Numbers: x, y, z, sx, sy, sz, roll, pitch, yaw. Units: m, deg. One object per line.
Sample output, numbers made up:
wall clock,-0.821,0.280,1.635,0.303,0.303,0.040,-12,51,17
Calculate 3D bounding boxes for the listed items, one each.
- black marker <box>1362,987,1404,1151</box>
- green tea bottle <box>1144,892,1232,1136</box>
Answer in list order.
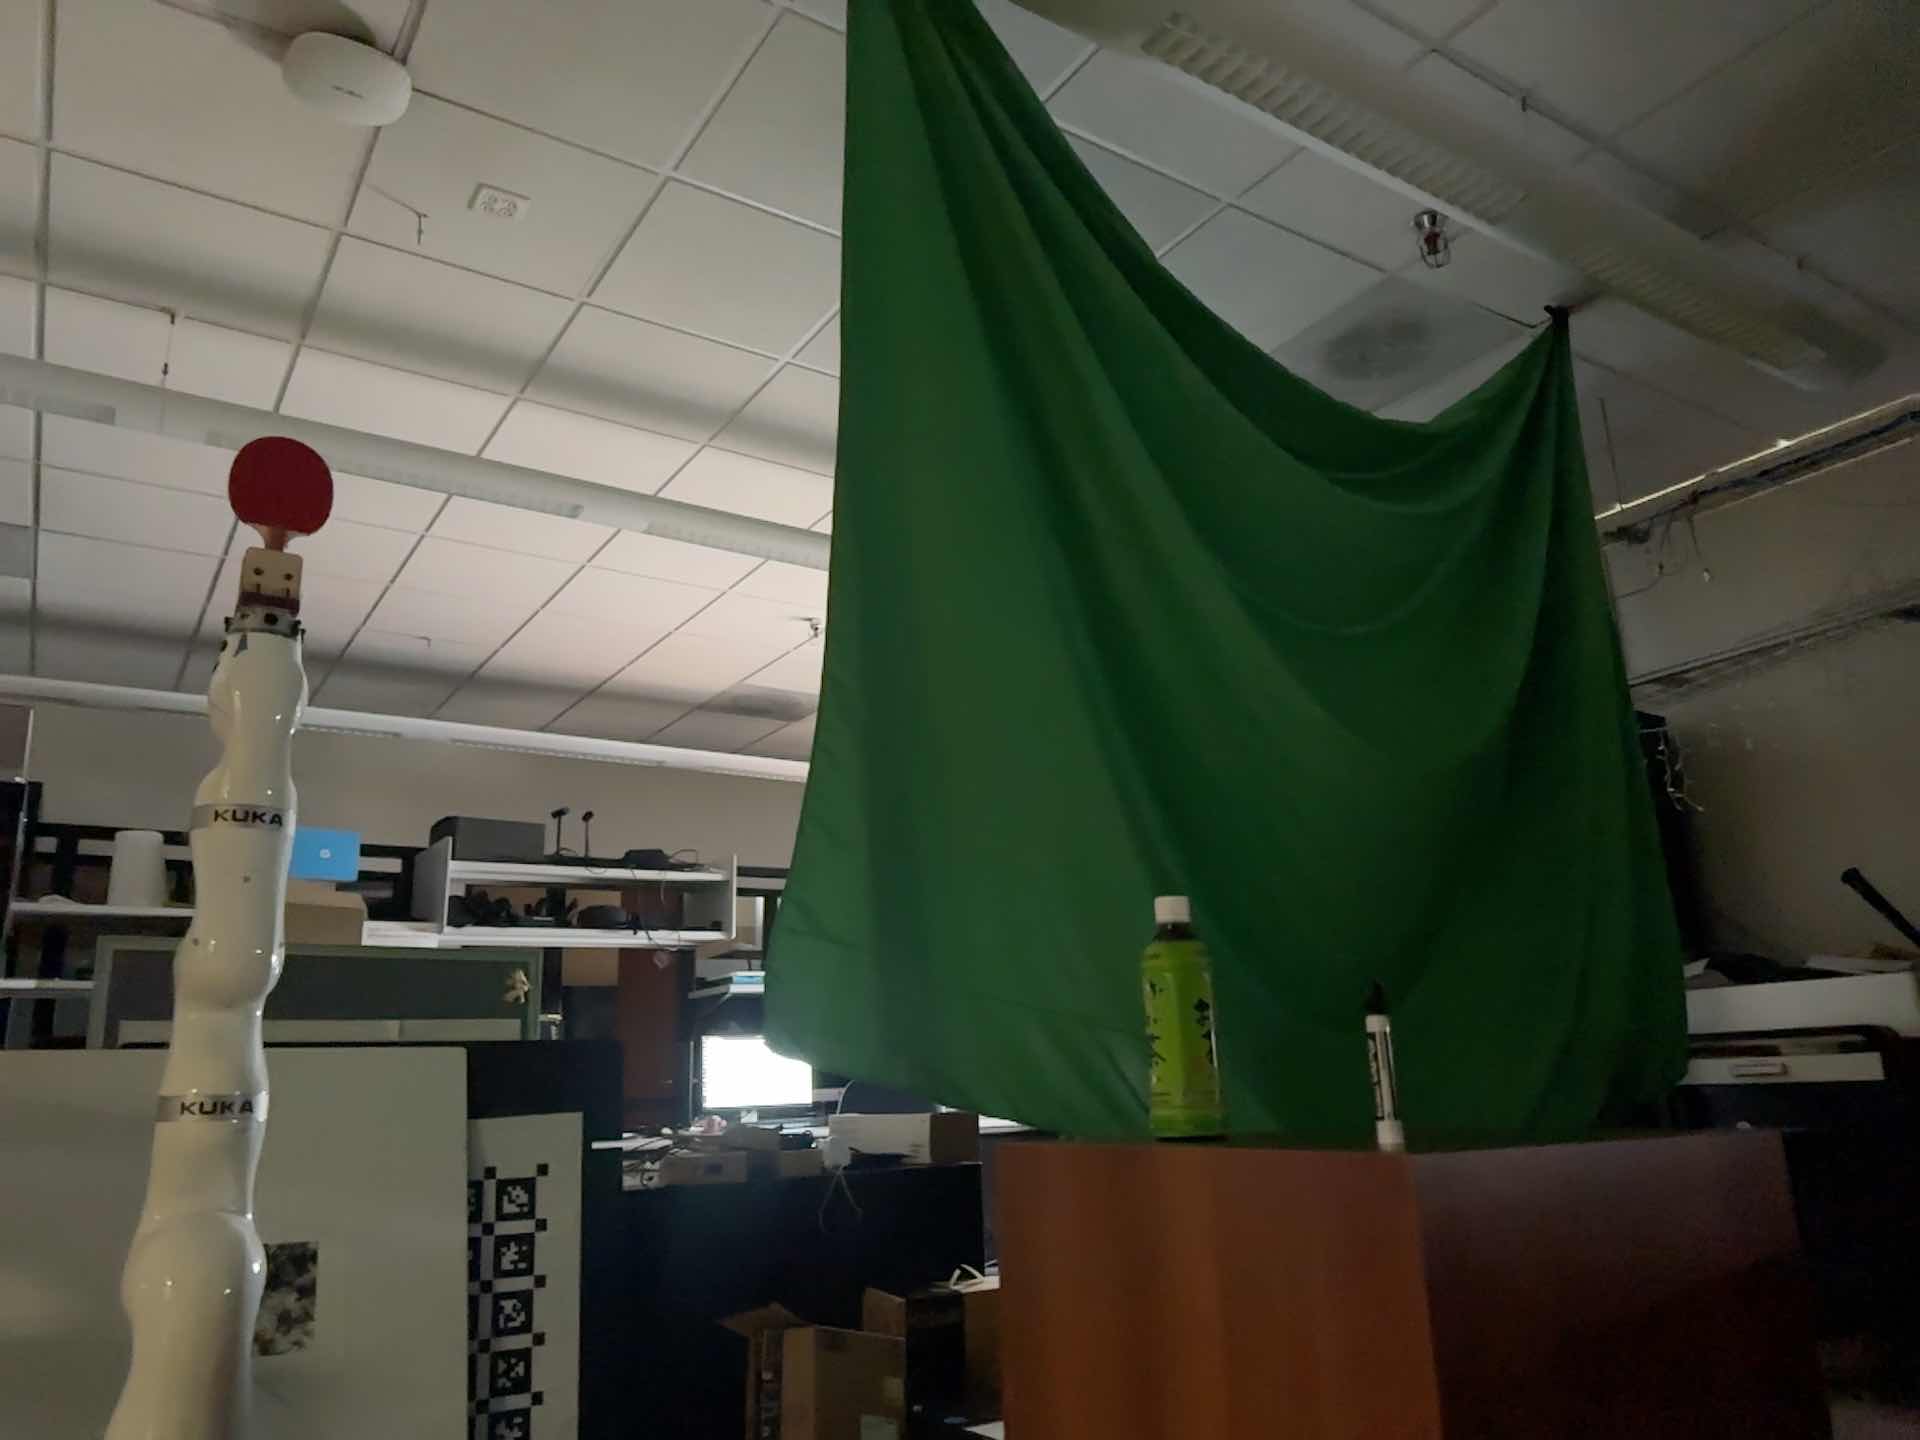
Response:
black marker,0.325,0.267,1.033,0.020,0.121,0.020,-2,-12,0
green tea bottle,0.200,0.261,1.202,0.073,0.212,0.073,-3,-16,-1
